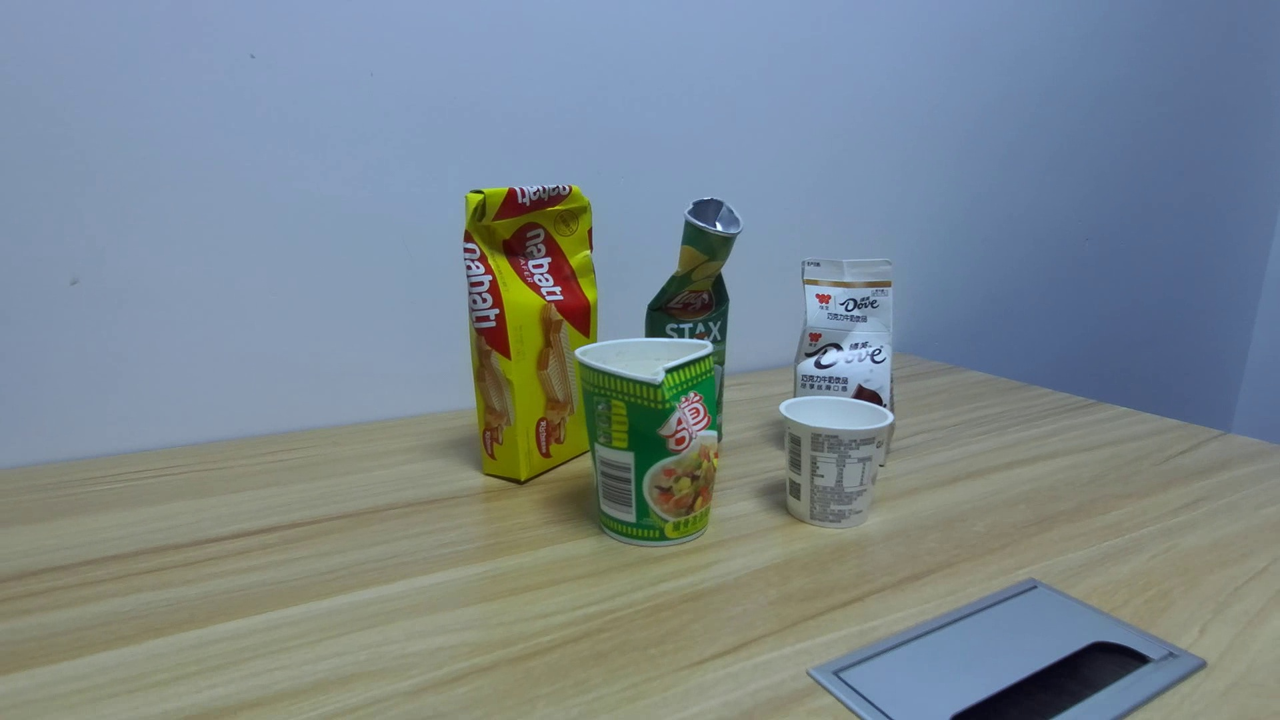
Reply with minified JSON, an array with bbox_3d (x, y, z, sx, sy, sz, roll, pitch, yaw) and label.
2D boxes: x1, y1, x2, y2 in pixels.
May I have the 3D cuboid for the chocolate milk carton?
[{"bbox_3d":[0.165,-0.002,0.561,0.084,0.155,0.073,5,13,14],"label":"chocolate milk carton"}]

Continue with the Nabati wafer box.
[{"bbox_3d":[-0.076,-0.022,0.519,0.042,0.205,0.114,8,17,32],"label":"Nabati wafer box"}]

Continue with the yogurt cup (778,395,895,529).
[{"bbox_3d":[0.123,0.065,0.453,0.072,0.068,0.072,1,14,0],"label":"yogurt cup"}]

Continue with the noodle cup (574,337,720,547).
[{"bbox_3d":[0.008,0.048,0.432,0.094,0.109,0.086,-13,19,-43],"label":"noodle cup"}]

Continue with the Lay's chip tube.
[{"bbox_3d":[0.045,-0.027,0.572,0.079,0.199,0.070,-14,27,-42],"label":"Lay's chip tube"}]
